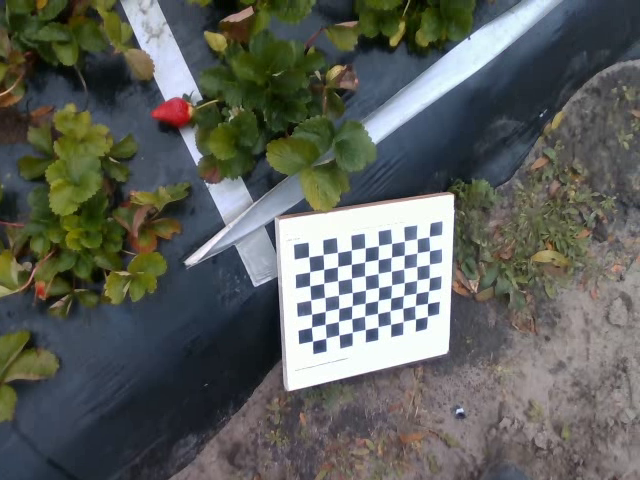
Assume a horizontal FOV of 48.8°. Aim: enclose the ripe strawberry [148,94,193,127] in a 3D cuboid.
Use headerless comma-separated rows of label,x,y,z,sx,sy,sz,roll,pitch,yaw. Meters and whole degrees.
ripe strawberry,-0.186,-0.159,0.853,0.051,0.042,0.037,-14,25,-22
